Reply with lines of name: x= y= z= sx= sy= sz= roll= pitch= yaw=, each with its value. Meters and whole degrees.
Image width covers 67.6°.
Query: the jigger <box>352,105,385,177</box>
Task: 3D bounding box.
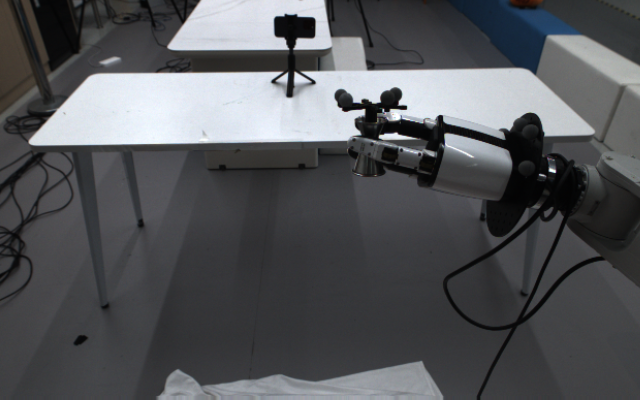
jigger: x=0.062 y=-0.068 z=0.614 sx=0.043 sy=0.071 sz=0.043 roll=0 pitch=21 yaw=0
